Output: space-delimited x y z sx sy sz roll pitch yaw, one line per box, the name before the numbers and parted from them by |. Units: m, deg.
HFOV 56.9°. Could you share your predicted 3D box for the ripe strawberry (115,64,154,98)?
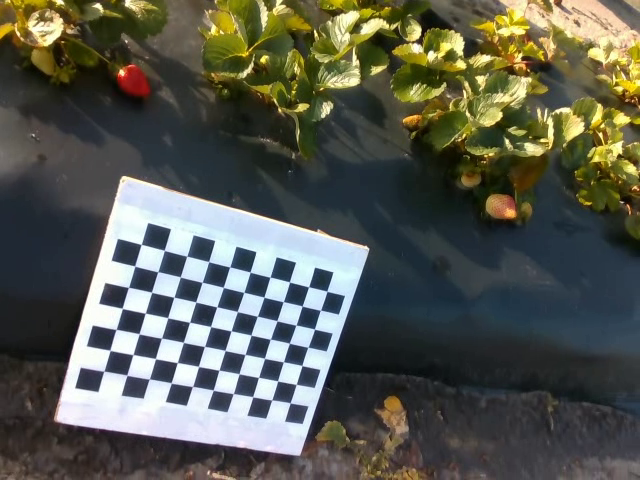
ripe strawberry | -0.185 -0.159 0.597 0.030 0.045 0.033 -44 -11 -1
